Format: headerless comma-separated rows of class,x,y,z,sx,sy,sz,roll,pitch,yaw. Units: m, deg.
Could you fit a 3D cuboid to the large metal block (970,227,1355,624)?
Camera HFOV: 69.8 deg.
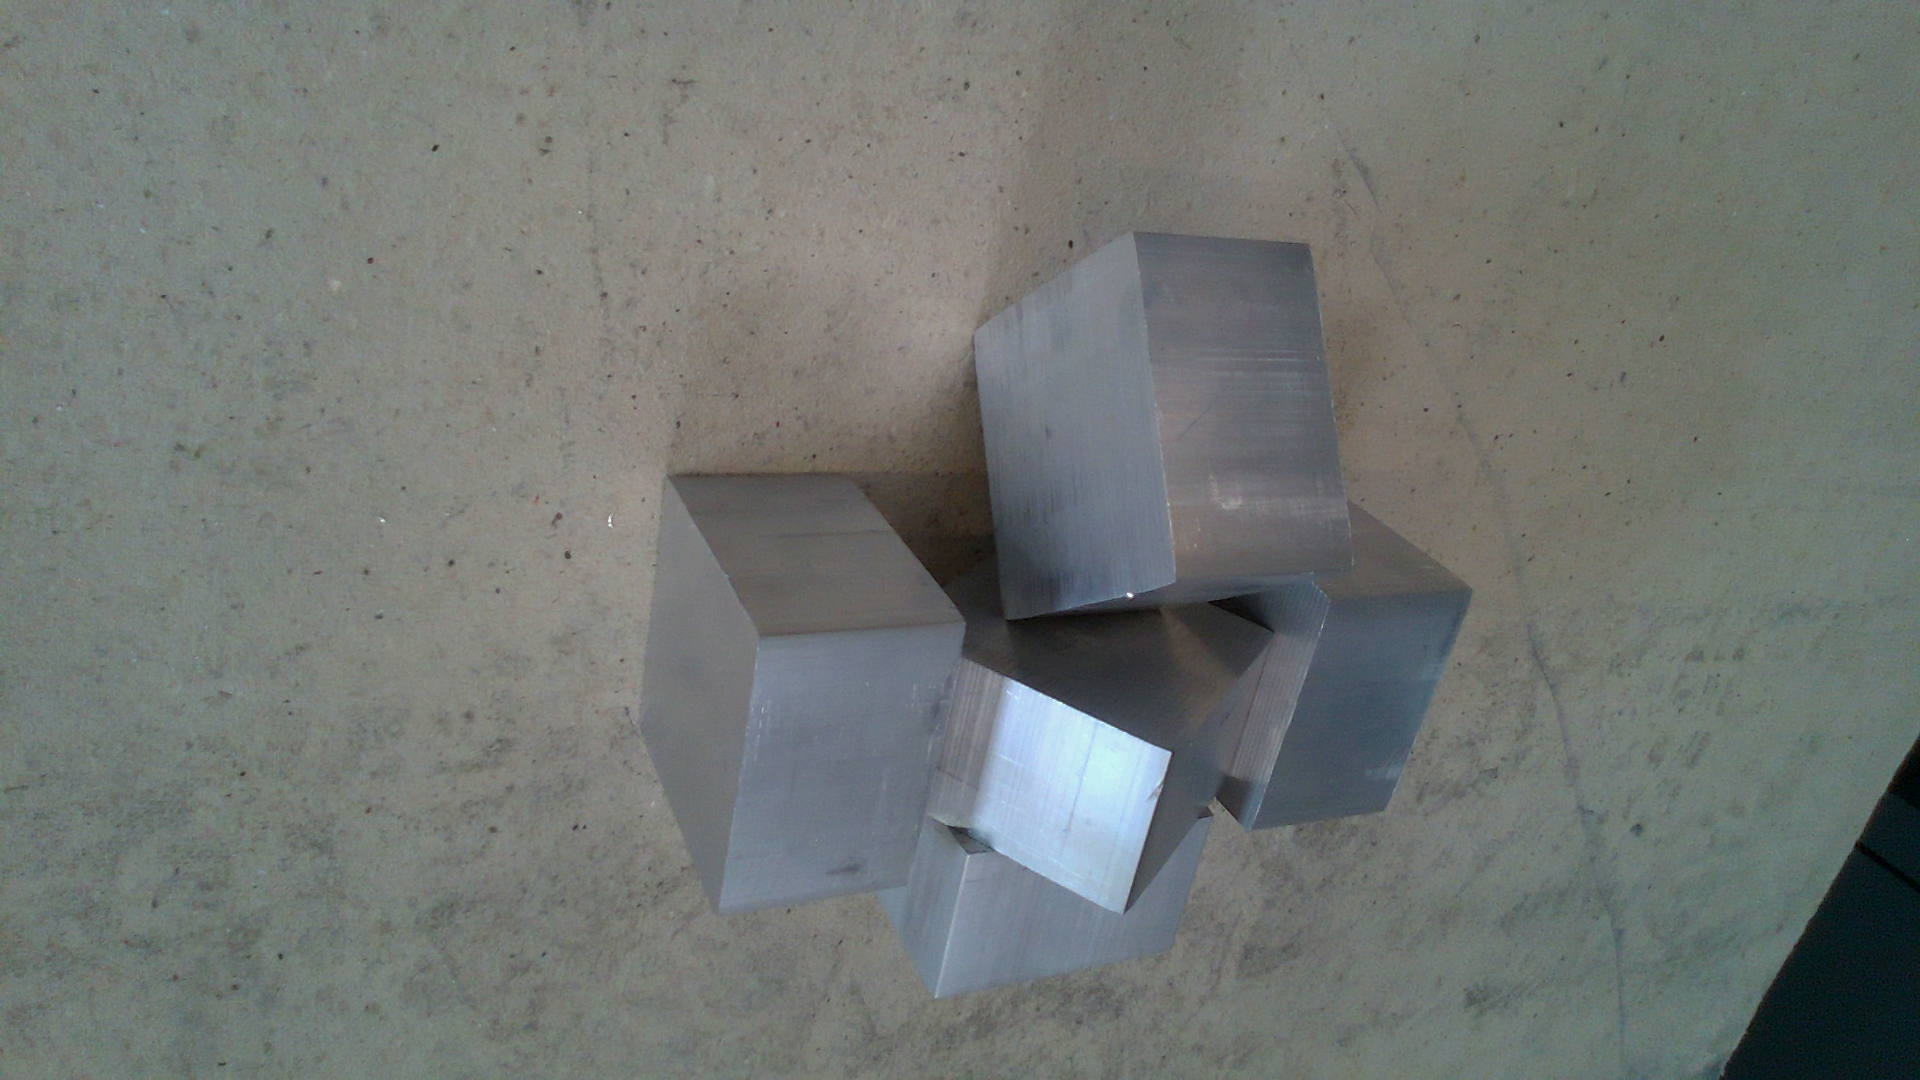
large metal block,0.047,-0.025,0.346,0.050,0.080,0.080,-3,82,-27

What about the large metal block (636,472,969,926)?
large metal block,-0.045,0.036,0.351,0.050,0.080,0.080,-2,119,-28

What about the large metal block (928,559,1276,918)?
large metal block,0.031,0.046,0.381,0.080,0.080,0.050,-32,139,-55

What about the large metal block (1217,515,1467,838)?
large metal block,0.097,0.032,0.426,0.050,0.080,0.080,-3,119,-28

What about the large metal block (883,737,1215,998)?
large metal block,0.016,0.083,0.415,0.080,0.080,0.050,-3,120,-27
